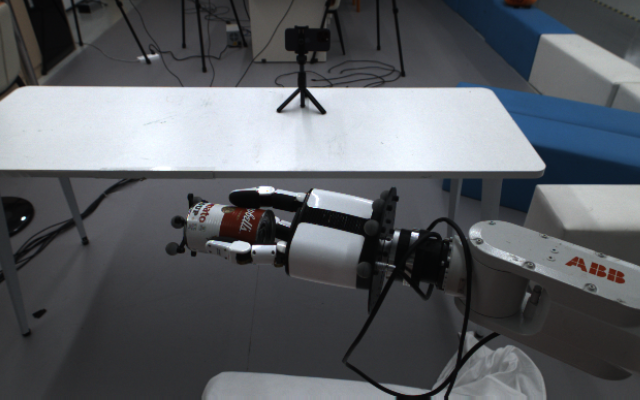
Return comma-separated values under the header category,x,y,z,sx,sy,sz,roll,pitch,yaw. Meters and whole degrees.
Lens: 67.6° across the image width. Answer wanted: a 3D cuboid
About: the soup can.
category,x,y,z,sx,sy,sz,roll,pitch,yaw
soup can,-0.114,0.041,0.632,0.101,0.067,0.067,6,35,13
